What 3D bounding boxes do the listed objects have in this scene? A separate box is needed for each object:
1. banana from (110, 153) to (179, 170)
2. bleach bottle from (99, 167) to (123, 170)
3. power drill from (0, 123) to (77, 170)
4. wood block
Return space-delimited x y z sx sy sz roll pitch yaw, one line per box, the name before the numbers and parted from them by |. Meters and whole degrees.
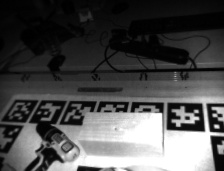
banana | 0.087 0.201 0.510 0.195 0.039 0.074 14 64 24
bleach bottle | 0.012 0.202 0.378 0.067 0.253 0.103 24 55 36
power drill | -0.214 0.196 0.594 0.182 0.058 0.188 27 56 31
wood block | 0.023 0.123 0.575 0.205 0.092 0.089 -1 46 14
